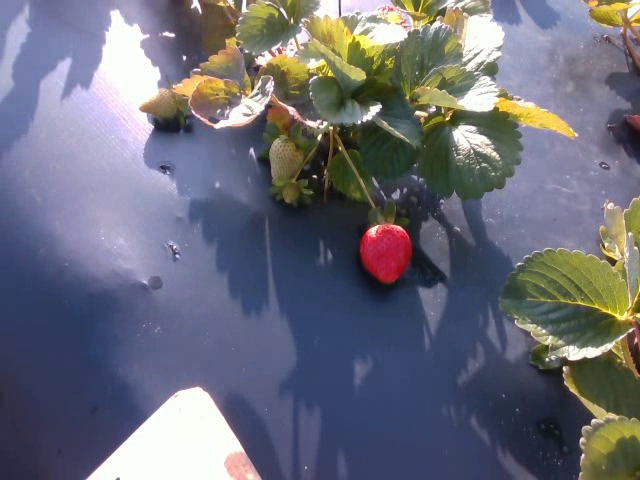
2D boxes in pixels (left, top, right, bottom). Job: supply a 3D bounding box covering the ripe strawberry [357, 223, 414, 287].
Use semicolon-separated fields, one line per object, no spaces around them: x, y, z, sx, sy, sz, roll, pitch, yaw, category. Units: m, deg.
0.038;0.010;0.339;0.030;0.045;0.033;-16;-42;29;ripe strawberry
